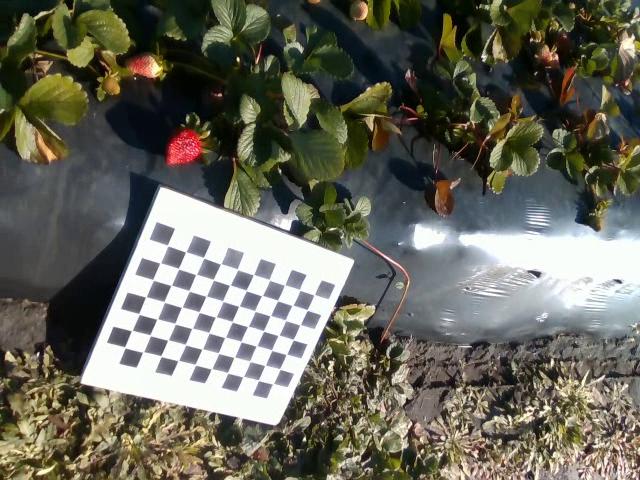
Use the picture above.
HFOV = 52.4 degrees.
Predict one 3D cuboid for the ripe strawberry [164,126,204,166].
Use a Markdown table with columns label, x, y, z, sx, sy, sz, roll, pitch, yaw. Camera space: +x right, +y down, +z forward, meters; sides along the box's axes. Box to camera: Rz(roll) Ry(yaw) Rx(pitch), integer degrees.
| label | x | y | z | sx | sy | sz | roll | pitch | yaw |
| --- | --- | --- | --- | --- | --- | --- | --- | --- | --- |
| ripe strawberry | -0.169 | -0.111 | 0.762 | 0.058 | 0.066 | 0.062 | -15 | 26 | 13 |
